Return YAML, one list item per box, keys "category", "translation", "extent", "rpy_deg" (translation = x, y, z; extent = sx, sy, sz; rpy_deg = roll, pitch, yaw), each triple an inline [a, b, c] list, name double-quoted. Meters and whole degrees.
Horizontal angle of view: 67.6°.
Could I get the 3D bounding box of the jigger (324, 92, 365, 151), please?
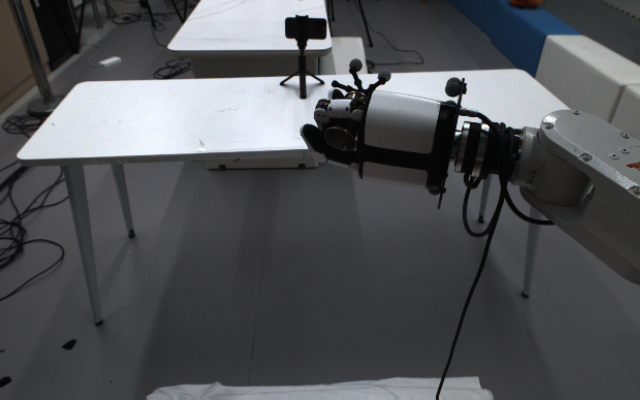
- category: "jigger"
  translation: [0.039, -0.105, 0.621]
  extent: [0.043, 0.043, 0.071]
  rpy_deg: [15, 58, 18]
